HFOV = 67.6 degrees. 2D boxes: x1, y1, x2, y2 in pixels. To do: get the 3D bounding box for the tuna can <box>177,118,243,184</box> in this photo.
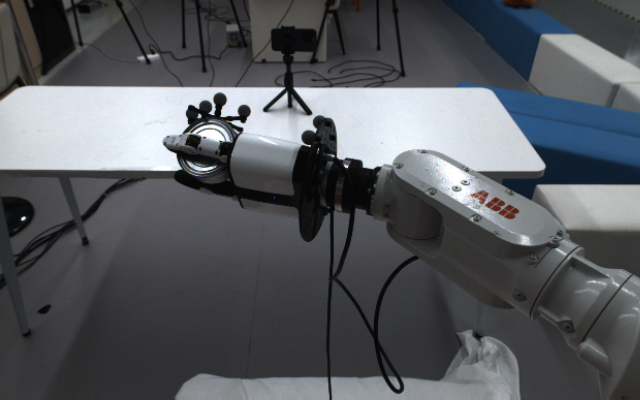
[{"bbox_3d":[-0.147,-0.066,0.653,0.085,0.034,0.085,-5,70,14],"label":"tuna can"}]
